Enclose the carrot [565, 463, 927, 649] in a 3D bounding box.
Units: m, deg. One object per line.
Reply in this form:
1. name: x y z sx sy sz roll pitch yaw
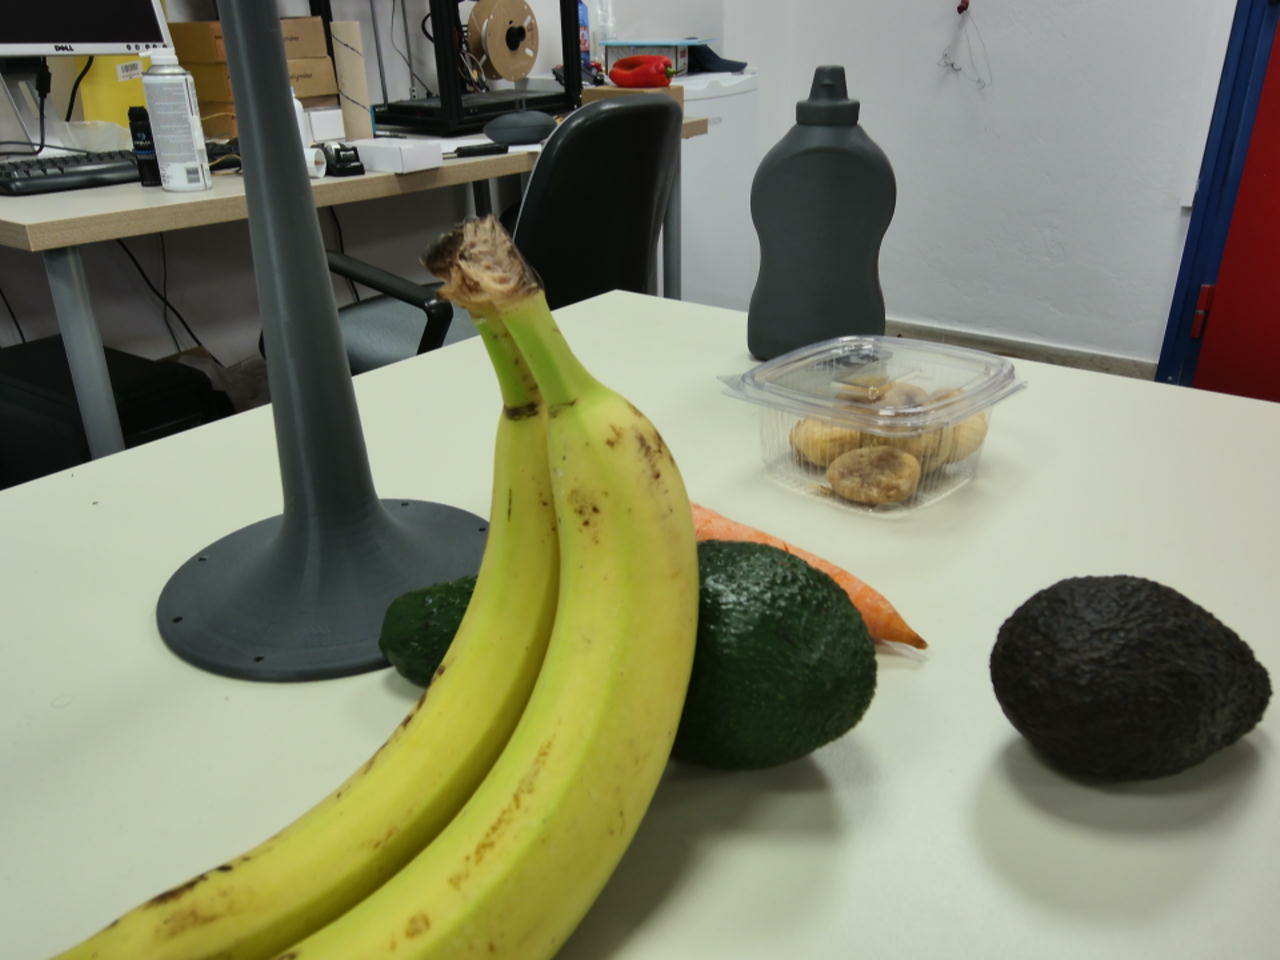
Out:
1. carrot: 0.044 0.031 0.466 0.196 0.041 0.039 18 28 35
